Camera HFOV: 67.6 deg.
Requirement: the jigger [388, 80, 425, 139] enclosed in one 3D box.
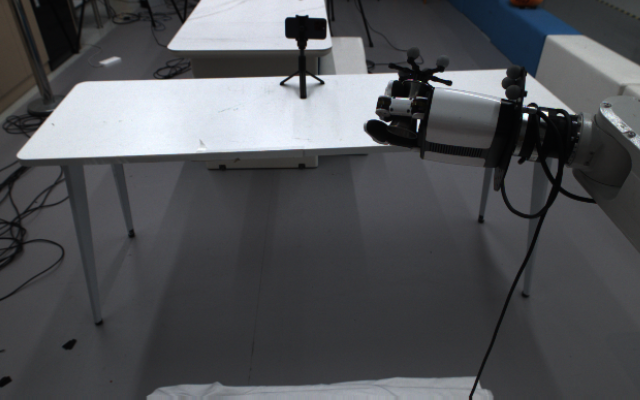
[{"bbox_3d":[0.121,-0.123,0.652,0.043,0.071,0.043,18,-6,2],"label":"jigger"}]
